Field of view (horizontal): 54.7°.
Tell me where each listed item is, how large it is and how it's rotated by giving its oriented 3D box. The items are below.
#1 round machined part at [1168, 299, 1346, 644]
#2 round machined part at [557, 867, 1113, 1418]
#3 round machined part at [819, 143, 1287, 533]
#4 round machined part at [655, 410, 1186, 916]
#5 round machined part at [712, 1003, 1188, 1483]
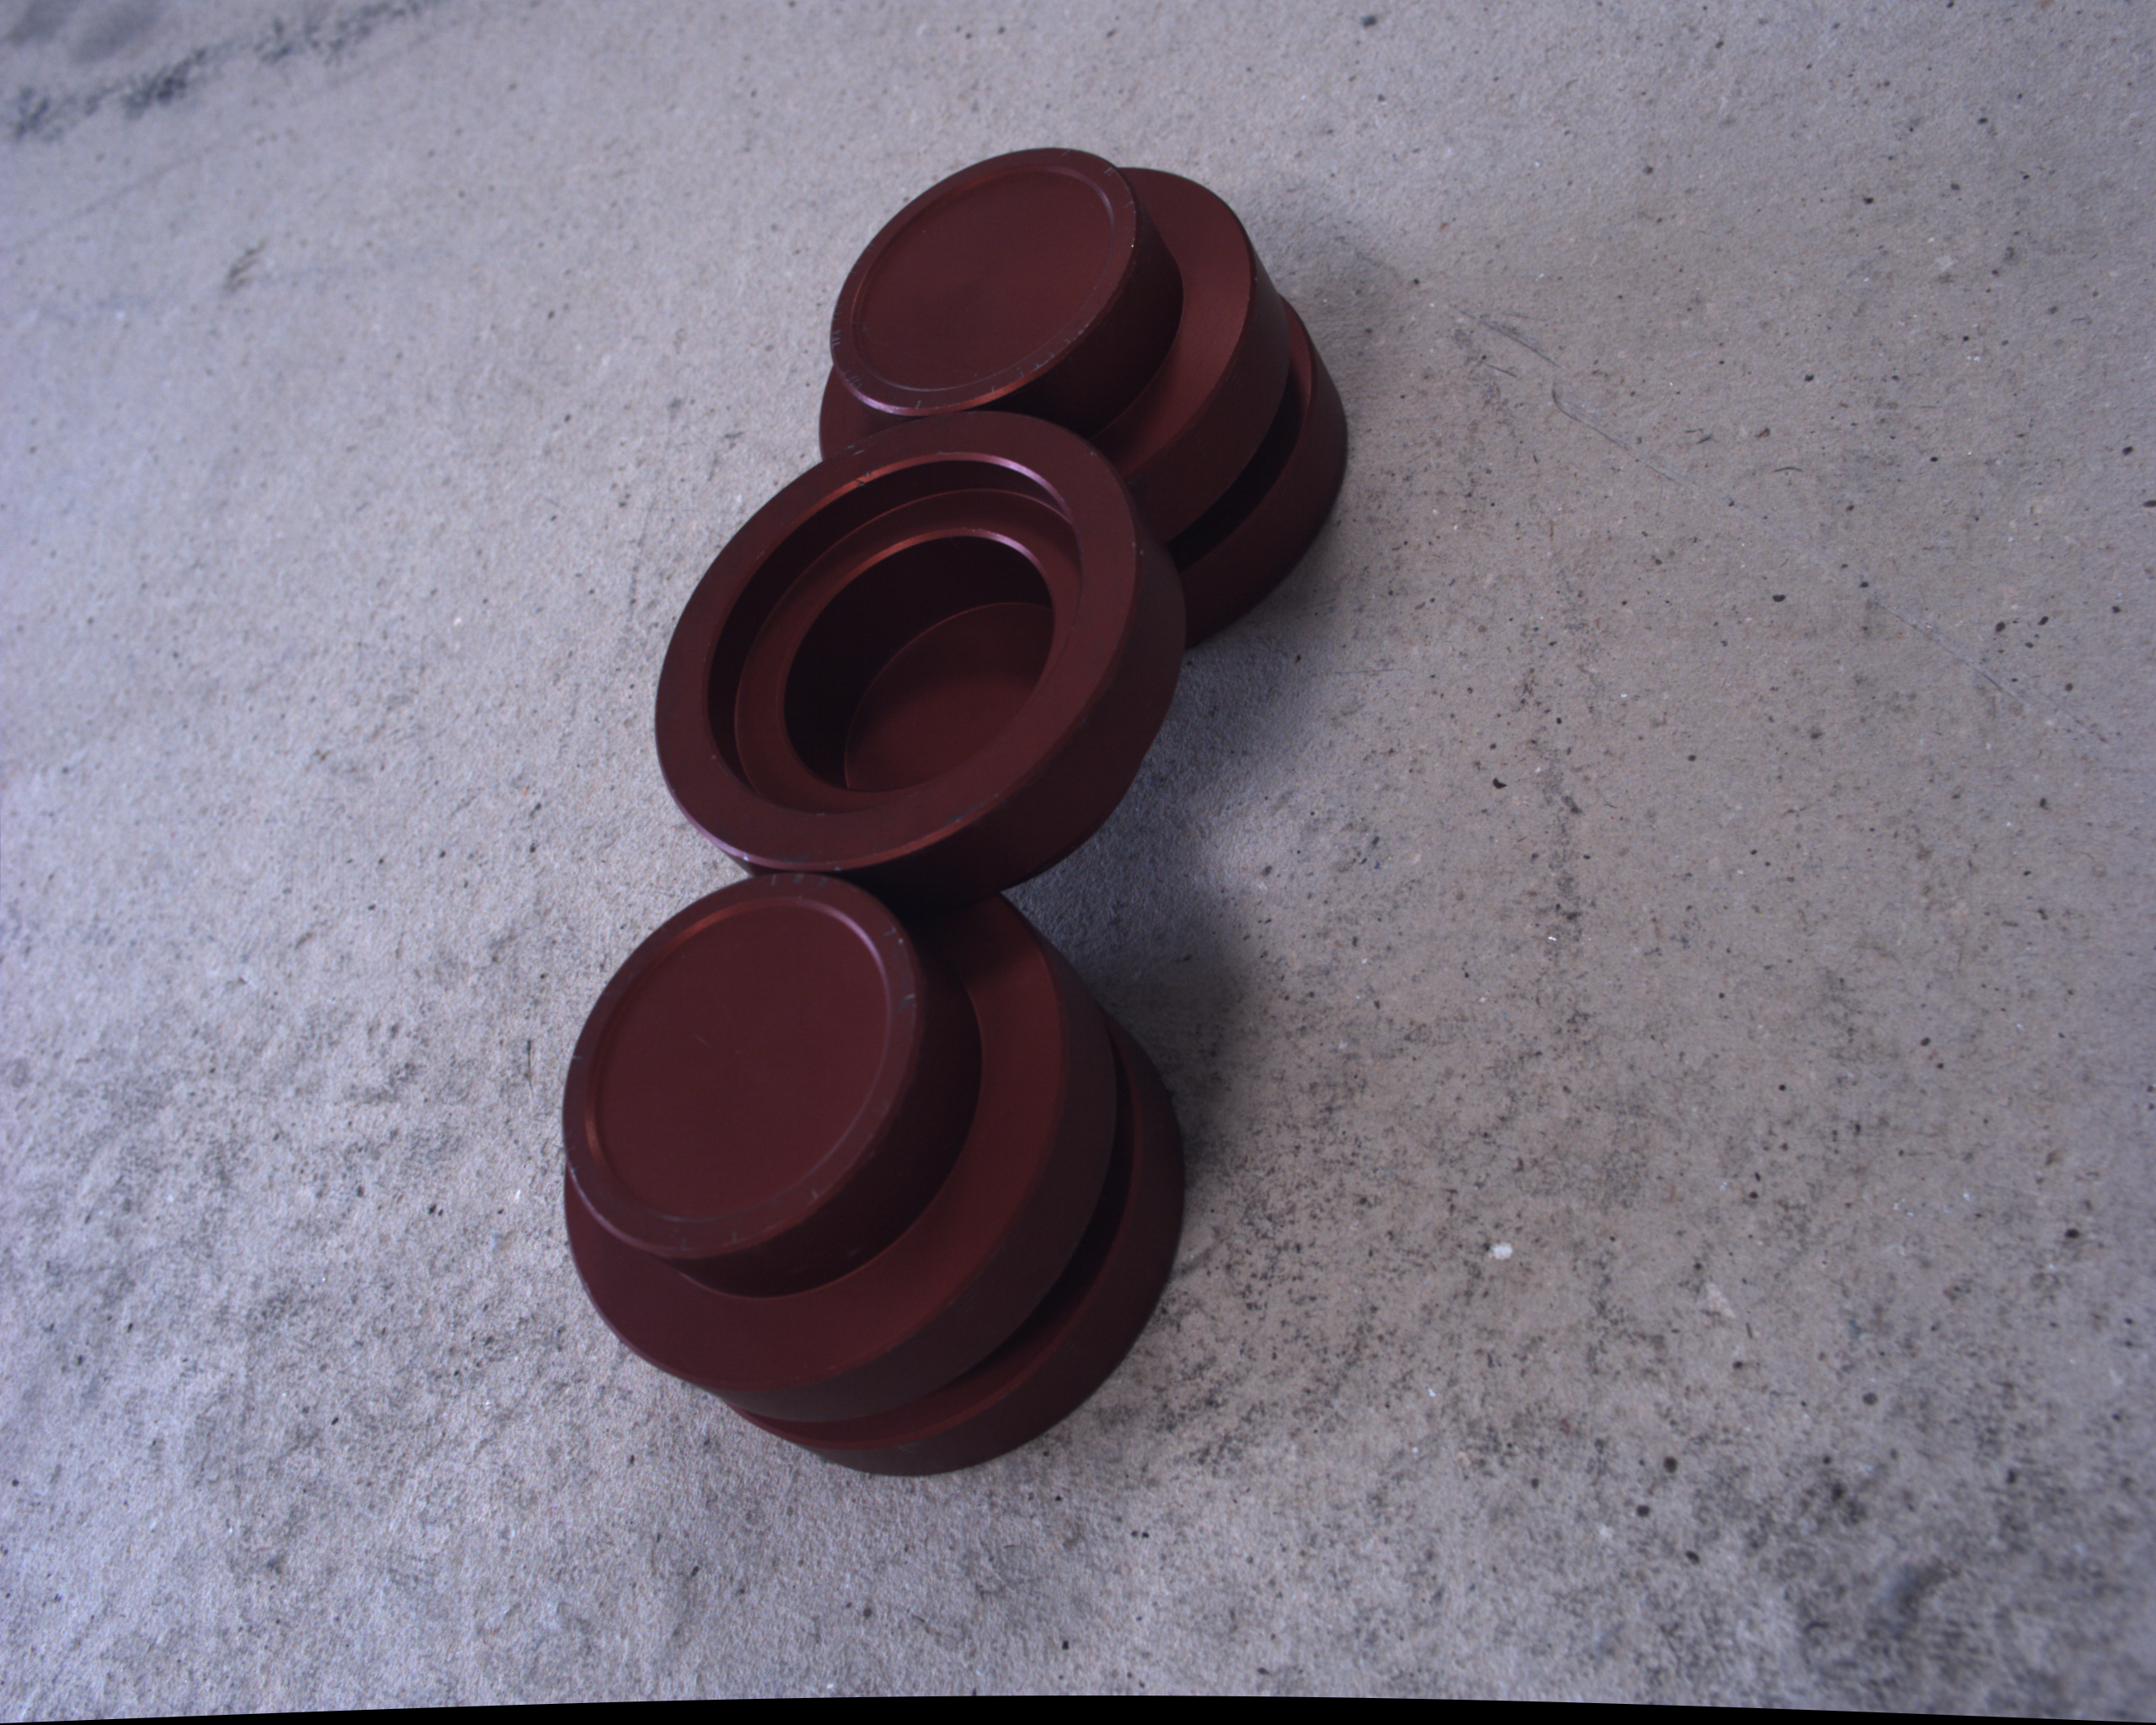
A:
[{"bbox_3d":[0.004,-0.093,0.449,0.098,0.042,0.098,-14,56,22],"label":"round machined part"},{"bbox_3d":[-0.047,0.040,0.352,0.098,0.042,0.098,-14,56,22],"label":"round machined part"},{"bbox_3d":[-0.011,-0.106,0.423,0.098,0.042,0.098,-14,56,22],"label":"round machined part"},{"bbox_3d":[-0.025,-0.032,0.387,0.098,0.042,0.098,-13,56,21],"label":"round machined part"},{"bbox_3d":[-0.033,0.058,0.378,0.098,0.042,0.098,-14,55,21],"label":"round machined part"}]
